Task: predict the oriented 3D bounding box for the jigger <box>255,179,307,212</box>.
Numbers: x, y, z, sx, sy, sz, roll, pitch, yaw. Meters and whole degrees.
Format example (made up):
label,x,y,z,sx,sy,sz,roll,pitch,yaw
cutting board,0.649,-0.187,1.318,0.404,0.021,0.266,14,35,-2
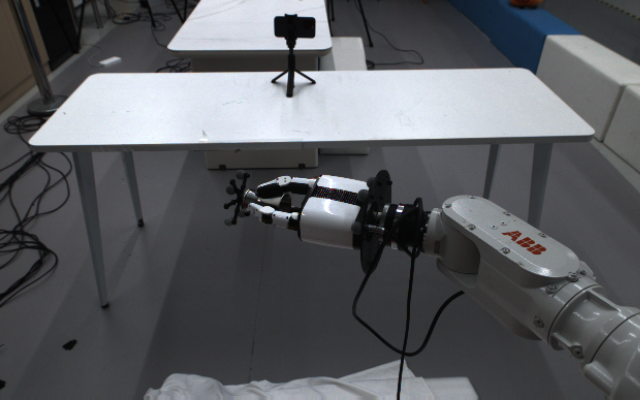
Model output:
label,x,y,z,sx,sy,sz,roll,pitch,yaw
jigger,-0.081,0.003,0.786,0.071,0.043,0.043,10,35,21
